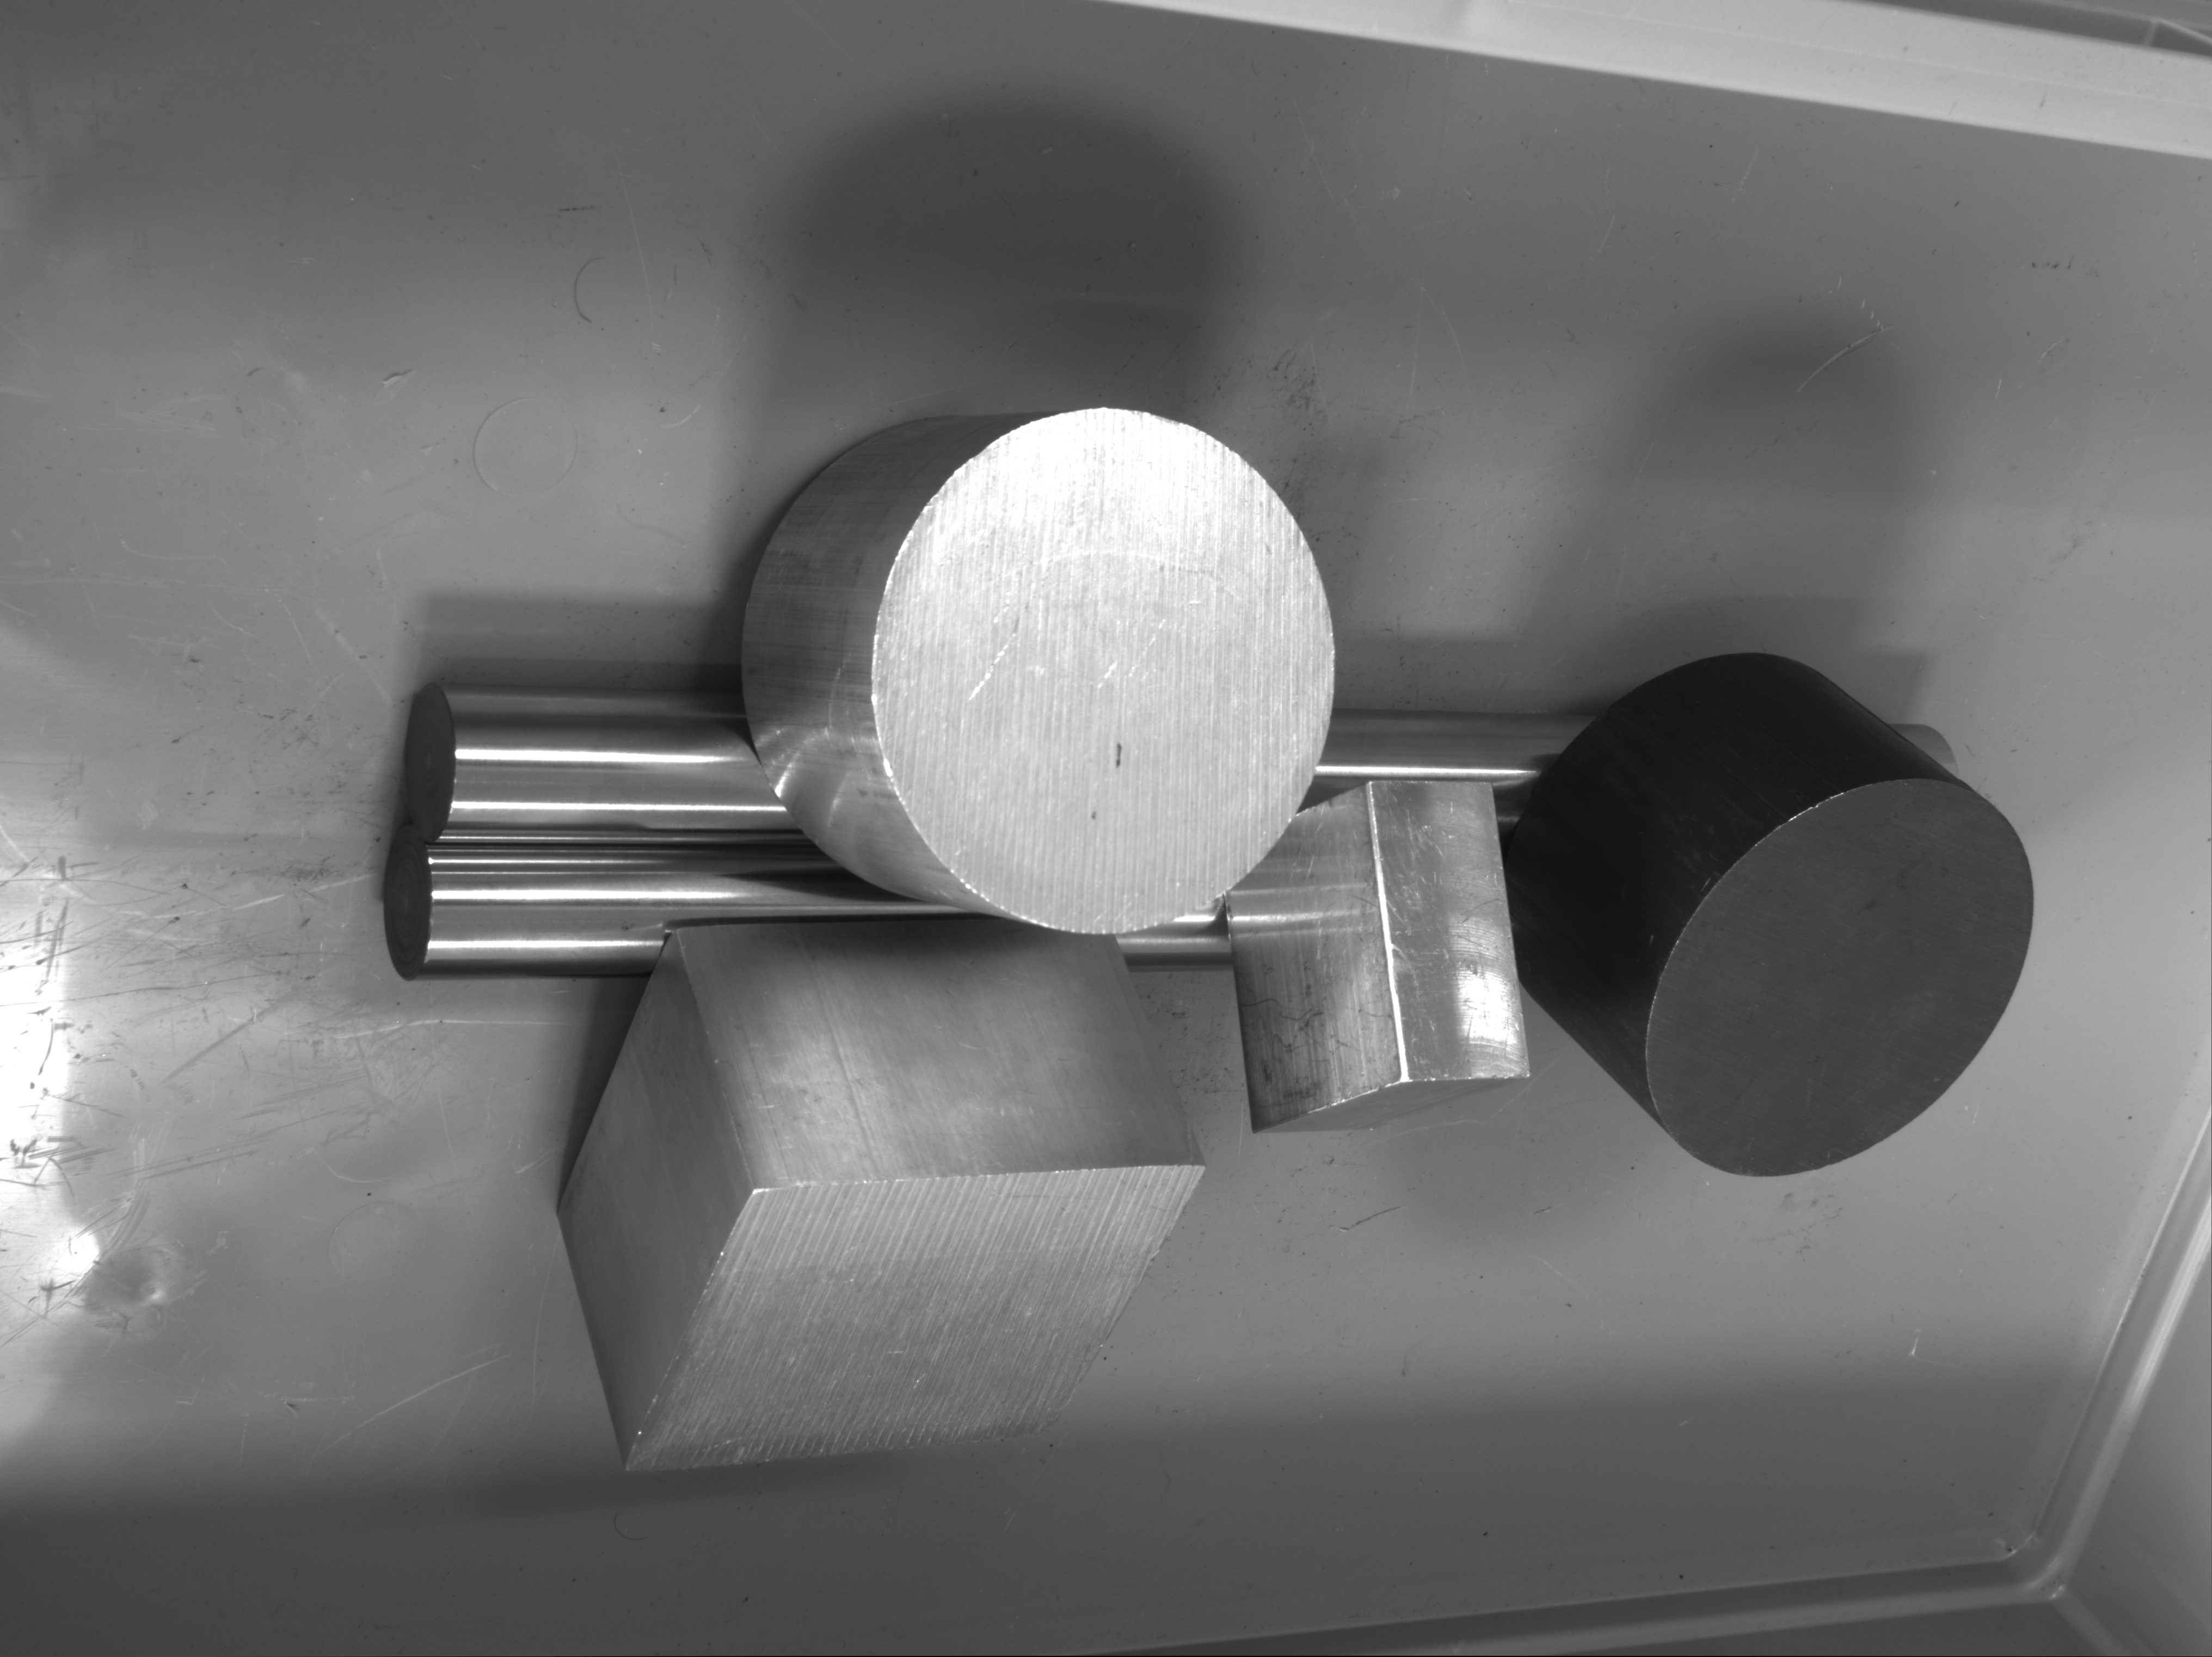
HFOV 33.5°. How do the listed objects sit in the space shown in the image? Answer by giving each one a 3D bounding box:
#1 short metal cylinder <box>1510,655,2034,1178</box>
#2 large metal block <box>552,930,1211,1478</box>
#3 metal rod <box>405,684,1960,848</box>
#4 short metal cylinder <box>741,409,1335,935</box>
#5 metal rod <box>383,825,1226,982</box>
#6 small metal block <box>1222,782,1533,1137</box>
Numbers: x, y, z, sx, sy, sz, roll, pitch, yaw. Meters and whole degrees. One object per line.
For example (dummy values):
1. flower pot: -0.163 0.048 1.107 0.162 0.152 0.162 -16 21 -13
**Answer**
1. short metal cylinder: 0.119 0.016 0.661 0.080 0.050 0.080 -13 124 -21
2. large metal block: -0.040 0.063 0.619 0.080 0.050 0.080 -1 139 -28
3. metal rod: 0.026 -0.009 0.645 0.301 0.025 0.025 1 118 -28
4. short metal cylinder: -0.011 -0.025 0.581 0.080 0.050 0.080 -3 95 -28
5. metal rod: 0.021 0.013 0.656 0.301 0.025 0.025 1 118 -28
6. small metal block: 0.045 0.023 0.622 0.025 0.050 0.050 1 76 -29
